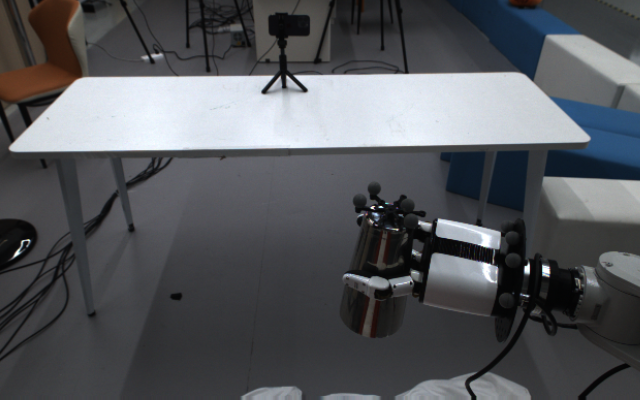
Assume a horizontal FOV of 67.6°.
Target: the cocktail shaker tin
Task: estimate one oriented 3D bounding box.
[{"bbox_3d":[0.082,0.091,0.653,0.093,0.170,0.093,4,32,-2],"label":"cocktail shaker tin"}]
